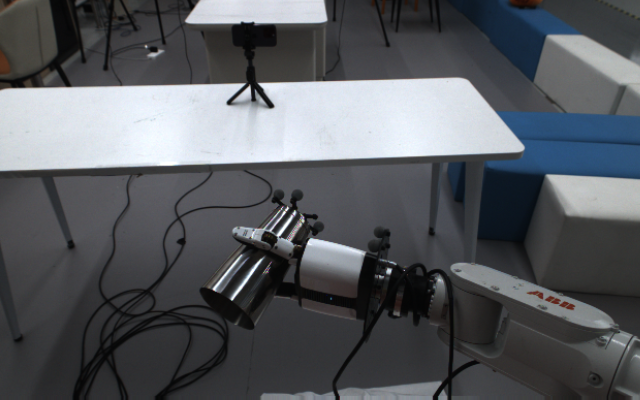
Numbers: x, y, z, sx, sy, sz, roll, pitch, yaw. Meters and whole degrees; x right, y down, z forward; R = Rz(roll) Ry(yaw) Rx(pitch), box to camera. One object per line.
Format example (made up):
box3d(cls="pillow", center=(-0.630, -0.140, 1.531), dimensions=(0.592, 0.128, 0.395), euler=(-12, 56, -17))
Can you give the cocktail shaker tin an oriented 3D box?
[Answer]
box3d(cls="cocktail shaker tin", center=(-0.082, 0.085, 0.697), dimensions=(0.093, 0.093, 0.170), euler=(19, 55, 23))
